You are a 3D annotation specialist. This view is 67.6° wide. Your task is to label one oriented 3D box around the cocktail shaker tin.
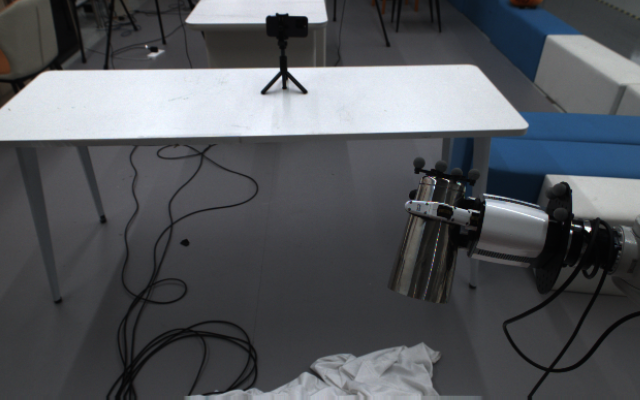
[{"bbox_3d":[0.165,0.051,0.710,0.093,0.170,0.093,13,1,0],"label":"cocktail shaker tin"}]
